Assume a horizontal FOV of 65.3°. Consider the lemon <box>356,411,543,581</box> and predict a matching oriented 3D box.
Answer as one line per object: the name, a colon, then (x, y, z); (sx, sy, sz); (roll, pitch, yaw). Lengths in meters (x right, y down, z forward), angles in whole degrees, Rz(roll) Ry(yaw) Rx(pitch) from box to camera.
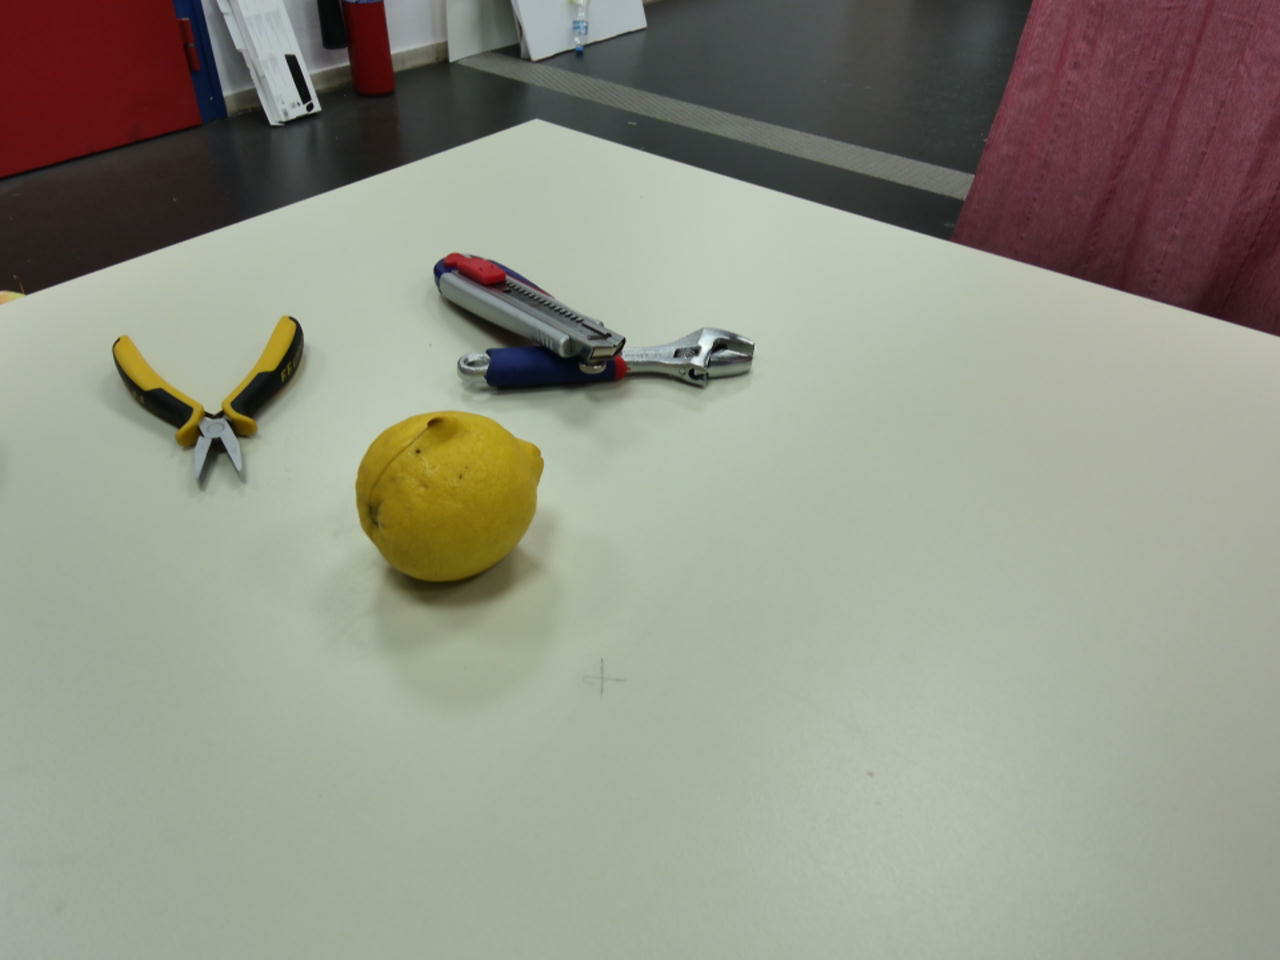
lemon: (-0.078, 0.003, 0.400); (0.071, 0.071, 0.070); (3, 36, 3)
